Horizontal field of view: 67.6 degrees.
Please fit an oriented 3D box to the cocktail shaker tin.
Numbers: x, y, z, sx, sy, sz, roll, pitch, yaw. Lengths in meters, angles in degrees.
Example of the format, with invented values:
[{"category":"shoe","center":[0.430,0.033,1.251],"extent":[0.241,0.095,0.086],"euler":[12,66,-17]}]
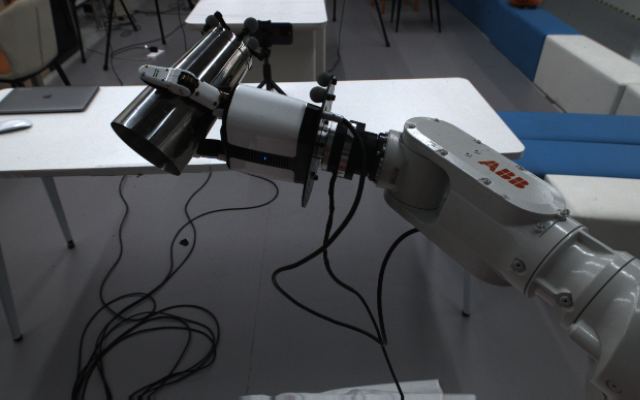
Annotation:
[{"category":"cocktail shaker tin","center":[-0.156,-0.128,0.577],"extent":[0.093,0.093,0.170],"euler":[22,67,26]}]
